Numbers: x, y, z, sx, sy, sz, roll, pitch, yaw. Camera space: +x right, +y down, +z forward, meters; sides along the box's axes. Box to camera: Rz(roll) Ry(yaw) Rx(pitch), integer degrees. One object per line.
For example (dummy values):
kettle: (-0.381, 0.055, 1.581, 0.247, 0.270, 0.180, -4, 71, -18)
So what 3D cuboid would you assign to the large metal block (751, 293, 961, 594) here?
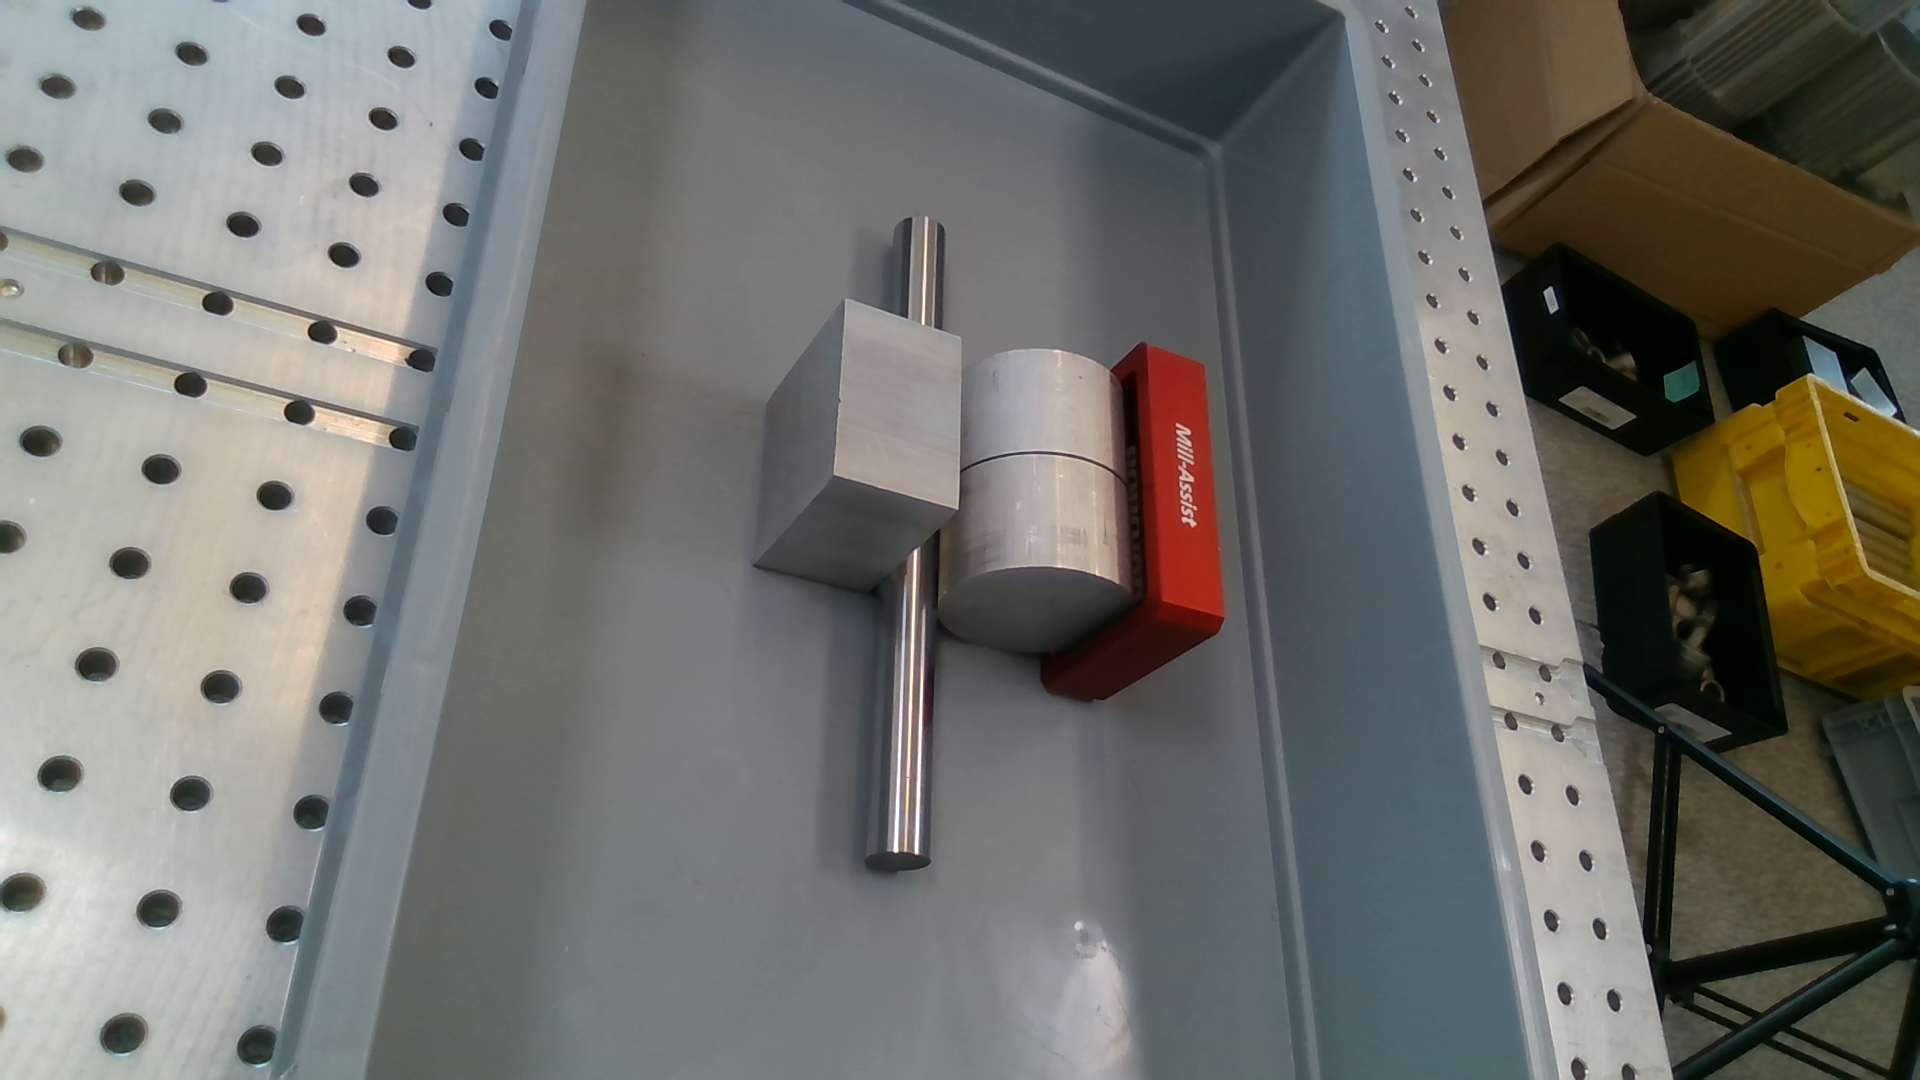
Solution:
large metal block: (-0.041, -0.036, 0.542, 0.050, 0.080, 0.080, 15, 58, -24)

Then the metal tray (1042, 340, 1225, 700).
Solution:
metal tray: (0.070, -0.008, 0.590, 0.030, 0.090, 0.130, 15, 58, -24)

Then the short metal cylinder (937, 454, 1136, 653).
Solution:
short metal cylinder: (0.031, 0.007, 0.566, 0.080, 0.080, 0.050, 16, 58, -24)

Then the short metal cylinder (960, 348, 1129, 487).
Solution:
short metal cylinder: (0.031, -0.038, 0.590, 0.080, 0.080, 0.050, 15, 58, -25)

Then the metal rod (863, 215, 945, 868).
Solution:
metal rod: (-0.021, -0.014, 0.579, 0.025, 0.025, 0.299, 15, 58, -24)
